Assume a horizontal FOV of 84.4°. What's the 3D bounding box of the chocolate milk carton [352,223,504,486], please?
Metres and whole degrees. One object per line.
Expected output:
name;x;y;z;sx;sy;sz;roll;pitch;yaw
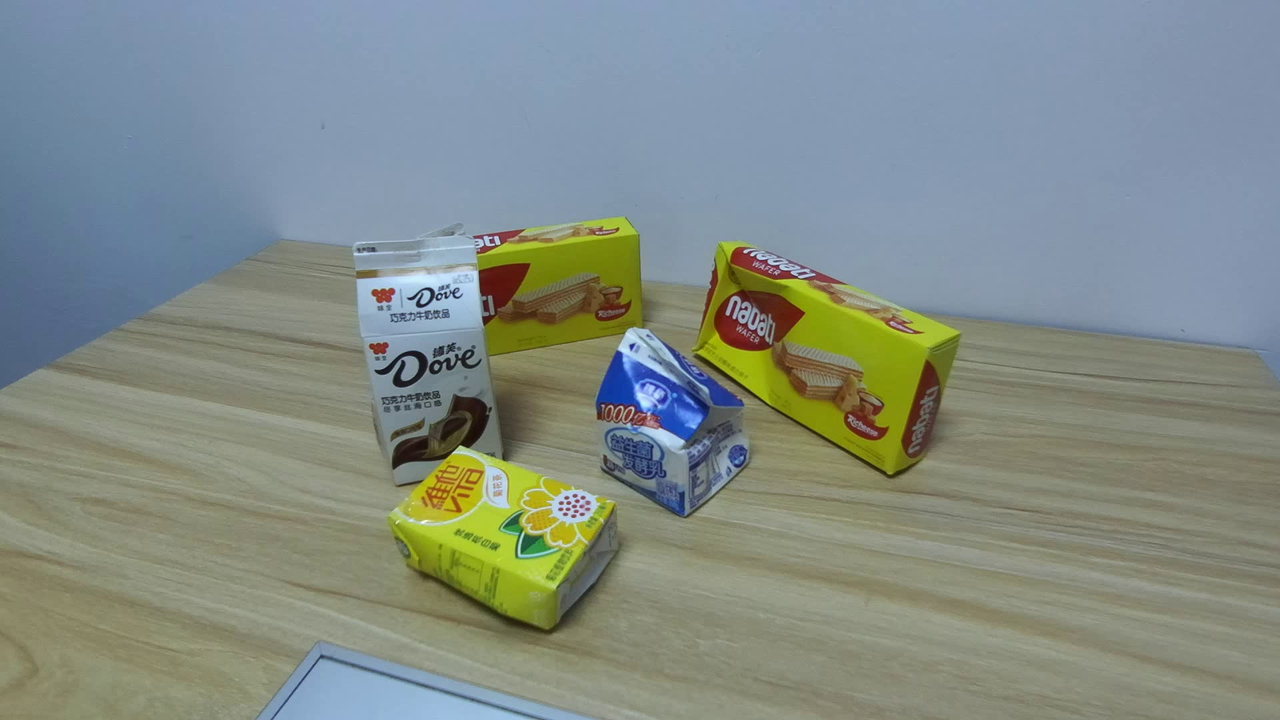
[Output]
chocolate milk carton;-0.139;-0.006;0.456;0.084;0.155;0.073;-10;33;-14

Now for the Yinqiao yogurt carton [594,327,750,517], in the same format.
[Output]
Yinqiao yogurt carton;0.019;0.030;0.446;0.083;0.093;0.077;24;40;35

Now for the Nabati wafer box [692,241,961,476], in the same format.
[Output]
Nabati wafer box;0.118;-0.010;0.507;0.042;0.096;0.202;-14;34;-37

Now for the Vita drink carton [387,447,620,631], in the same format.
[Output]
Vita drink carton;-0.076;0.099;0.391;0.108;0.043;0.076;16;40;23

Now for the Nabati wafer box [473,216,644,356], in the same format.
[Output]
Nabati wafer box;-0.098;-0.058;0.596;0.203;0.093;0.042;-9;31;-11
